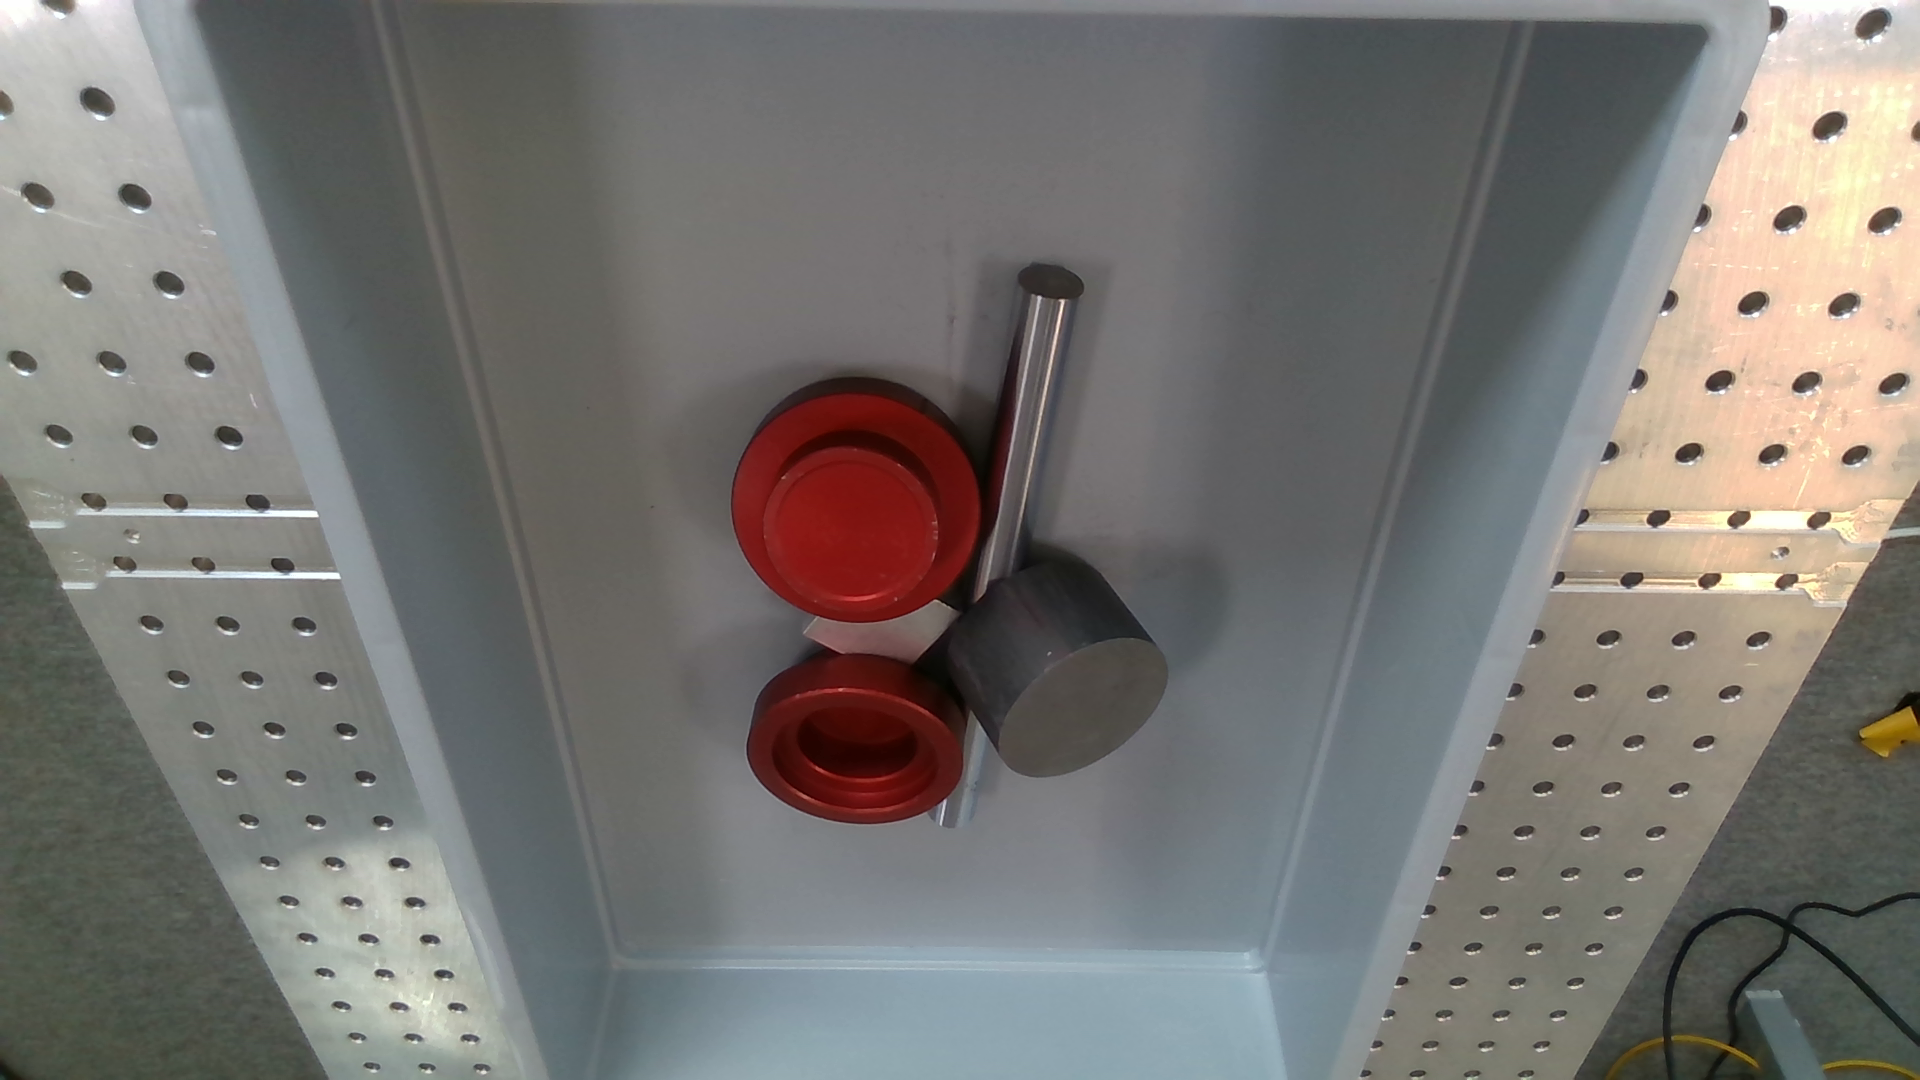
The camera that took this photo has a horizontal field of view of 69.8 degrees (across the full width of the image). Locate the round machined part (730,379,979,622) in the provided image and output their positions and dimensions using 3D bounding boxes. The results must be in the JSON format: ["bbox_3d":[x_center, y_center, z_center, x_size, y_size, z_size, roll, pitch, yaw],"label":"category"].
[{"bbox_3d":[-0.041,-0.012,0.540,0.098,0.042,0.098,0,112,1],"label":"round machined part"}]

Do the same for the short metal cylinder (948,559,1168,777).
[{"bbox_3d":[0.041,0.055,0.589,0.080,0.050,0.080,-18,136,-18],"label":"short metal cylinder"}]

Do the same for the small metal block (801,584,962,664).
[{"bbox_3d":[-0.034,0.028,0.602,0.050,0.025,0.050,29,124,-22],"label":"small metal block"}]

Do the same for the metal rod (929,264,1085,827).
[{"bbox_3d":[0.014,0.020,0.595,0.025,0.025,0.301,6,130,-5],"label":"metal rod"}]

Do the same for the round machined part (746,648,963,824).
[{"bbox_3d":[-0.047,0.085,0.636,0.098,0.042,0.098,2,133,2],"label":"round machined part"}]
